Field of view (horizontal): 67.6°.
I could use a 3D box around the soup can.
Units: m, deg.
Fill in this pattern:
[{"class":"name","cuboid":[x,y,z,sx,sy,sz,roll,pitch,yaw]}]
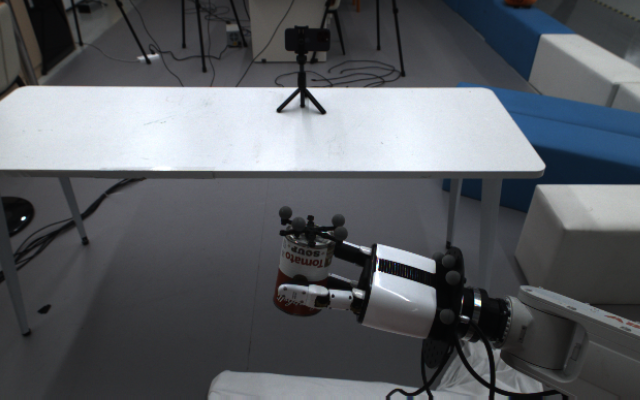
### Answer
[{"class":"soup can","cuboid":[-0.019,0.089,0.627,0.067,0.101,0.067,9,20,-3]}]
